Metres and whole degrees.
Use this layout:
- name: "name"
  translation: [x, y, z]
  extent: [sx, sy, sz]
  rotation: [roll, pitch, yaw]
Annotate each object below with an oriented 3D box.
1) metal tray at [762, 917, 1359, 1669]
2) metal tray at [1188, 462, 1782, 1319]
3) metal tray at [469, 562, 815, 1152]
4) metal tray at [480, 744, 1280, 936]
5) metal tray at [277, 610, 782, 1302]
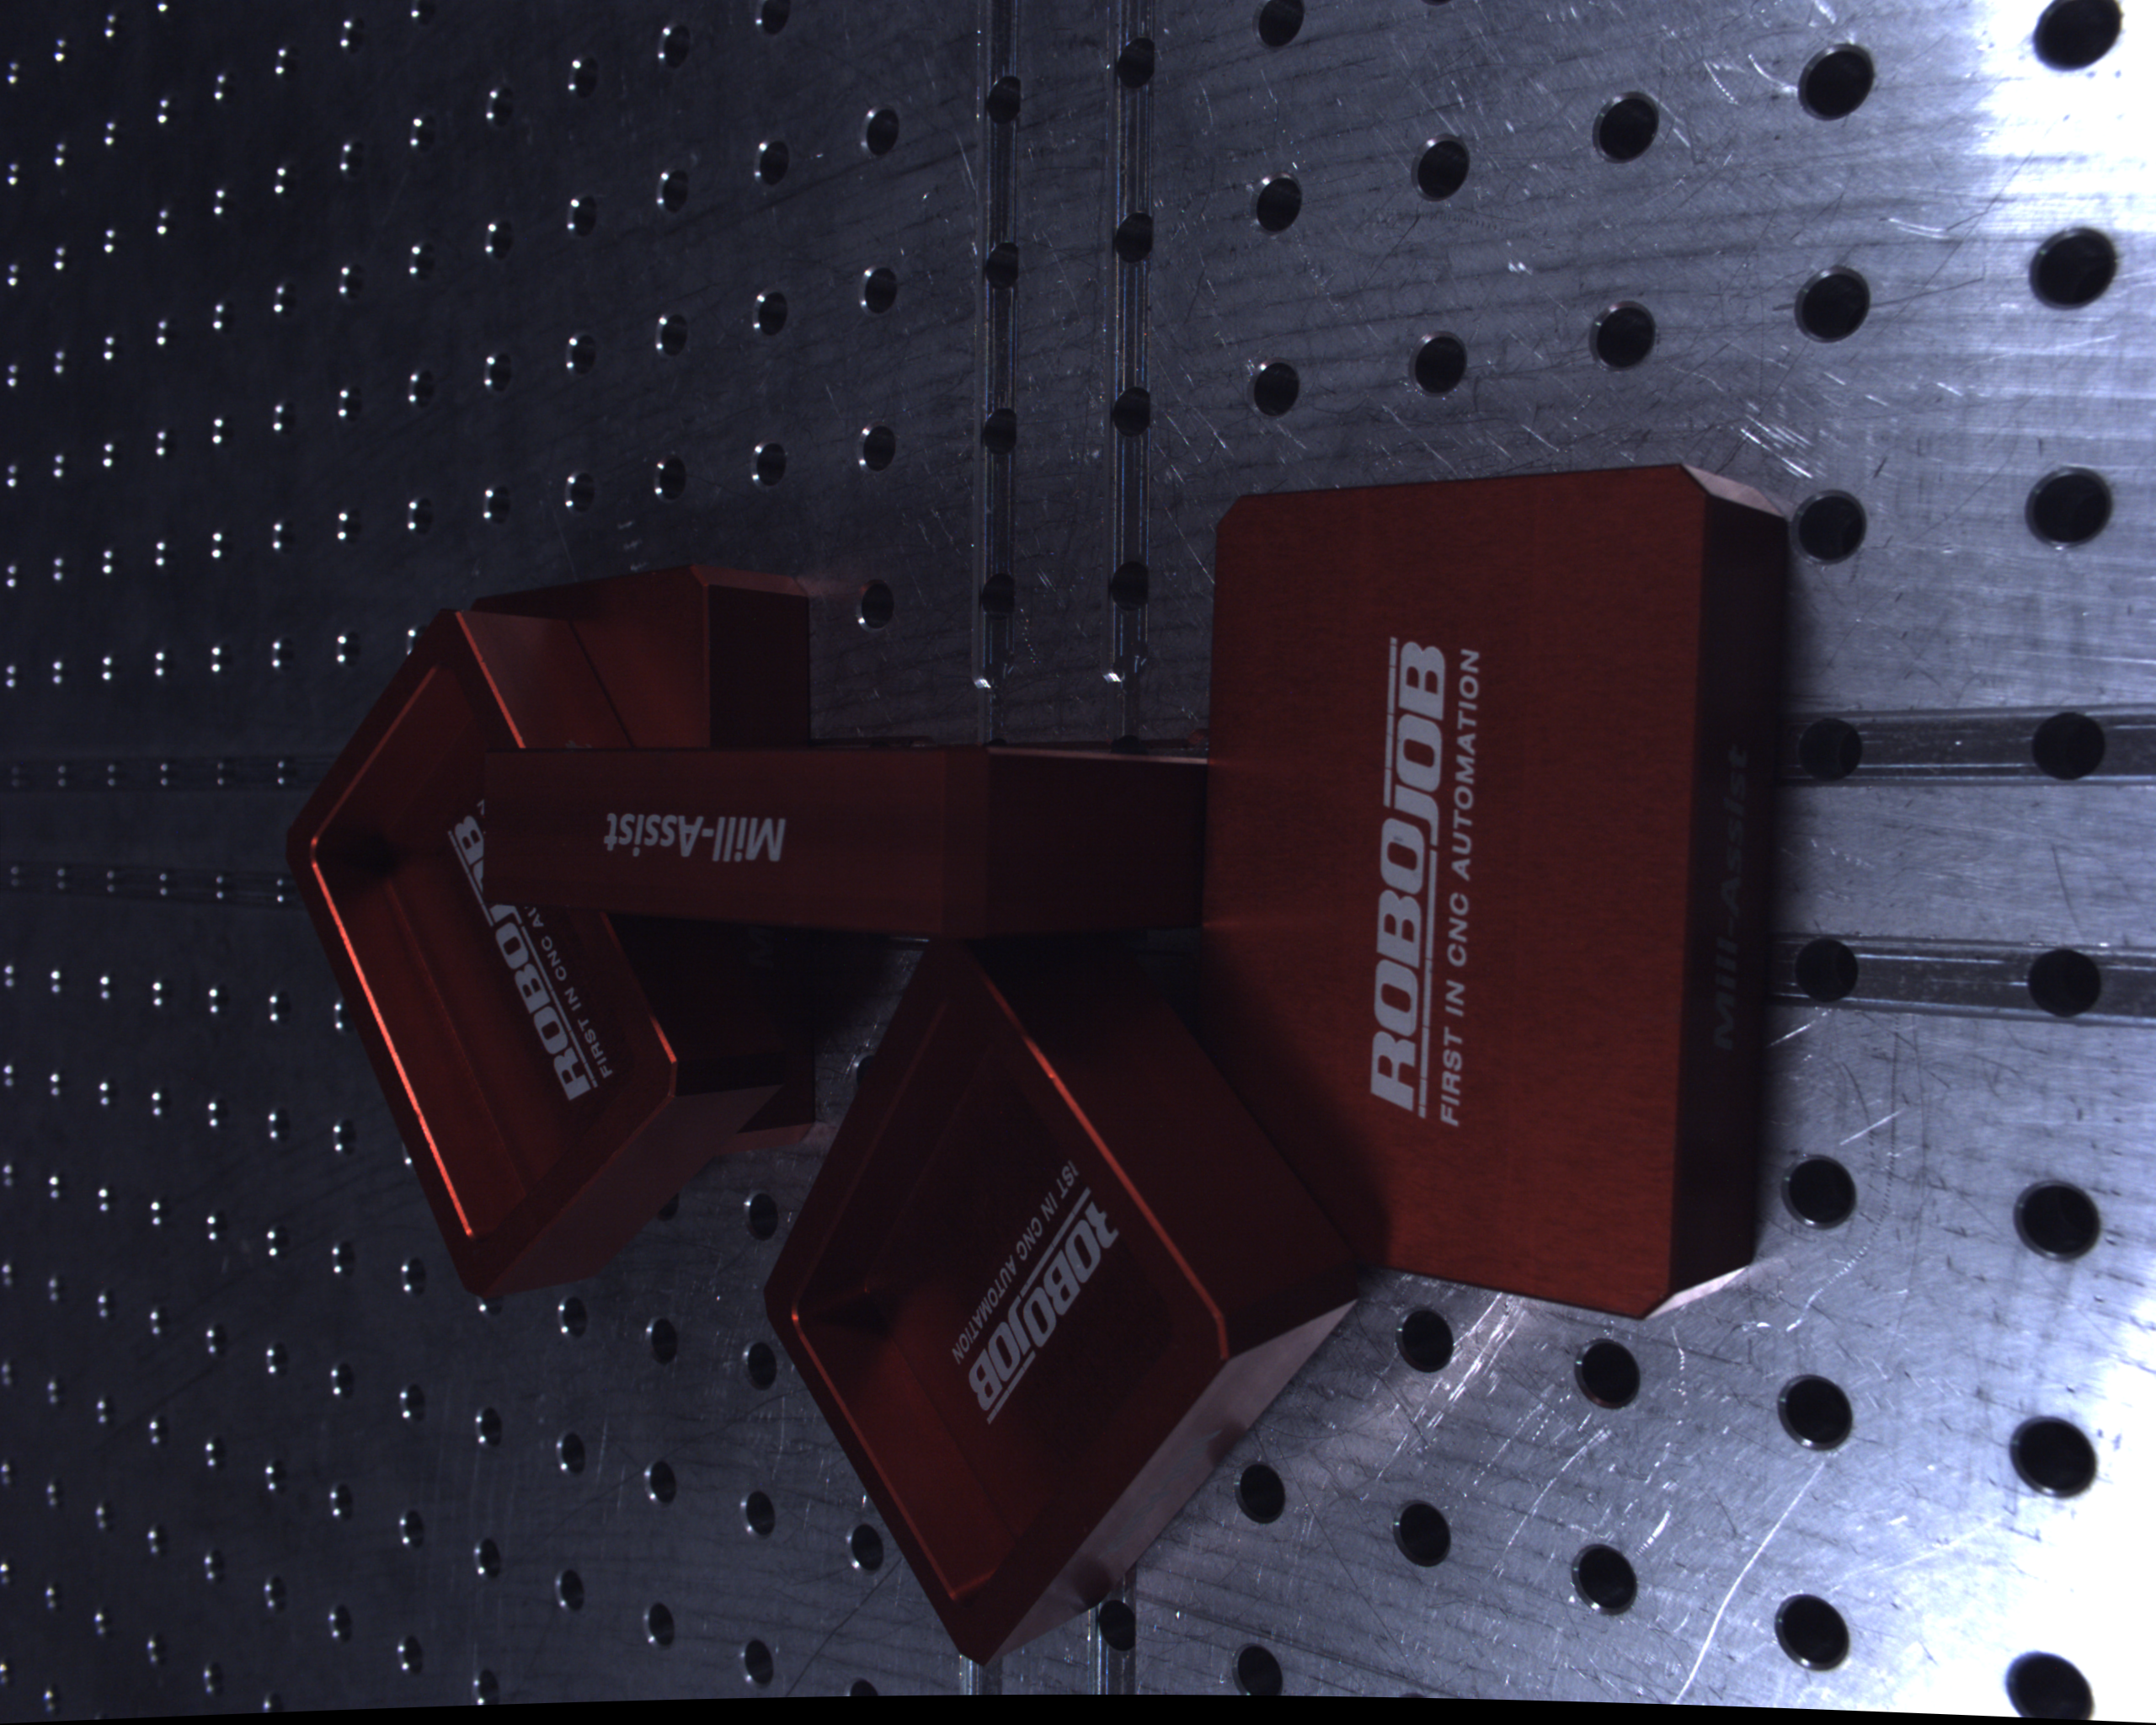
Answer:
- name: "metal tray"
  translation: [-0.010, 0.080, 0.388]
  extent: [0.090, 0.030, 0.129]
  rotation: [53, 138, 26]
- name: "metal tray"
  translation: [0.065, 0.002, 0.350]
  extent: [0.090, 0.030, 0.129]
  rotation: [4, 92, 39]
- name: "metal tray"
  translation: [-0.104, 0.000, 0.490]
  extent: [0.090, 0.030, 0.129]
  rotation: [-1, 90, 40]
- name: "metal tray"
  translation: [-0.039, -0.006, 0.396]
  extent: [0.130, 0.091, 0.030]
  rotation: [2, 92, 39]
- name: "metal tray"
  translation: [-0.127, 0.019, 0.466]
  extent: [0.090, 0.030, 0.130]
  rotation: [-45, 64, 30]
